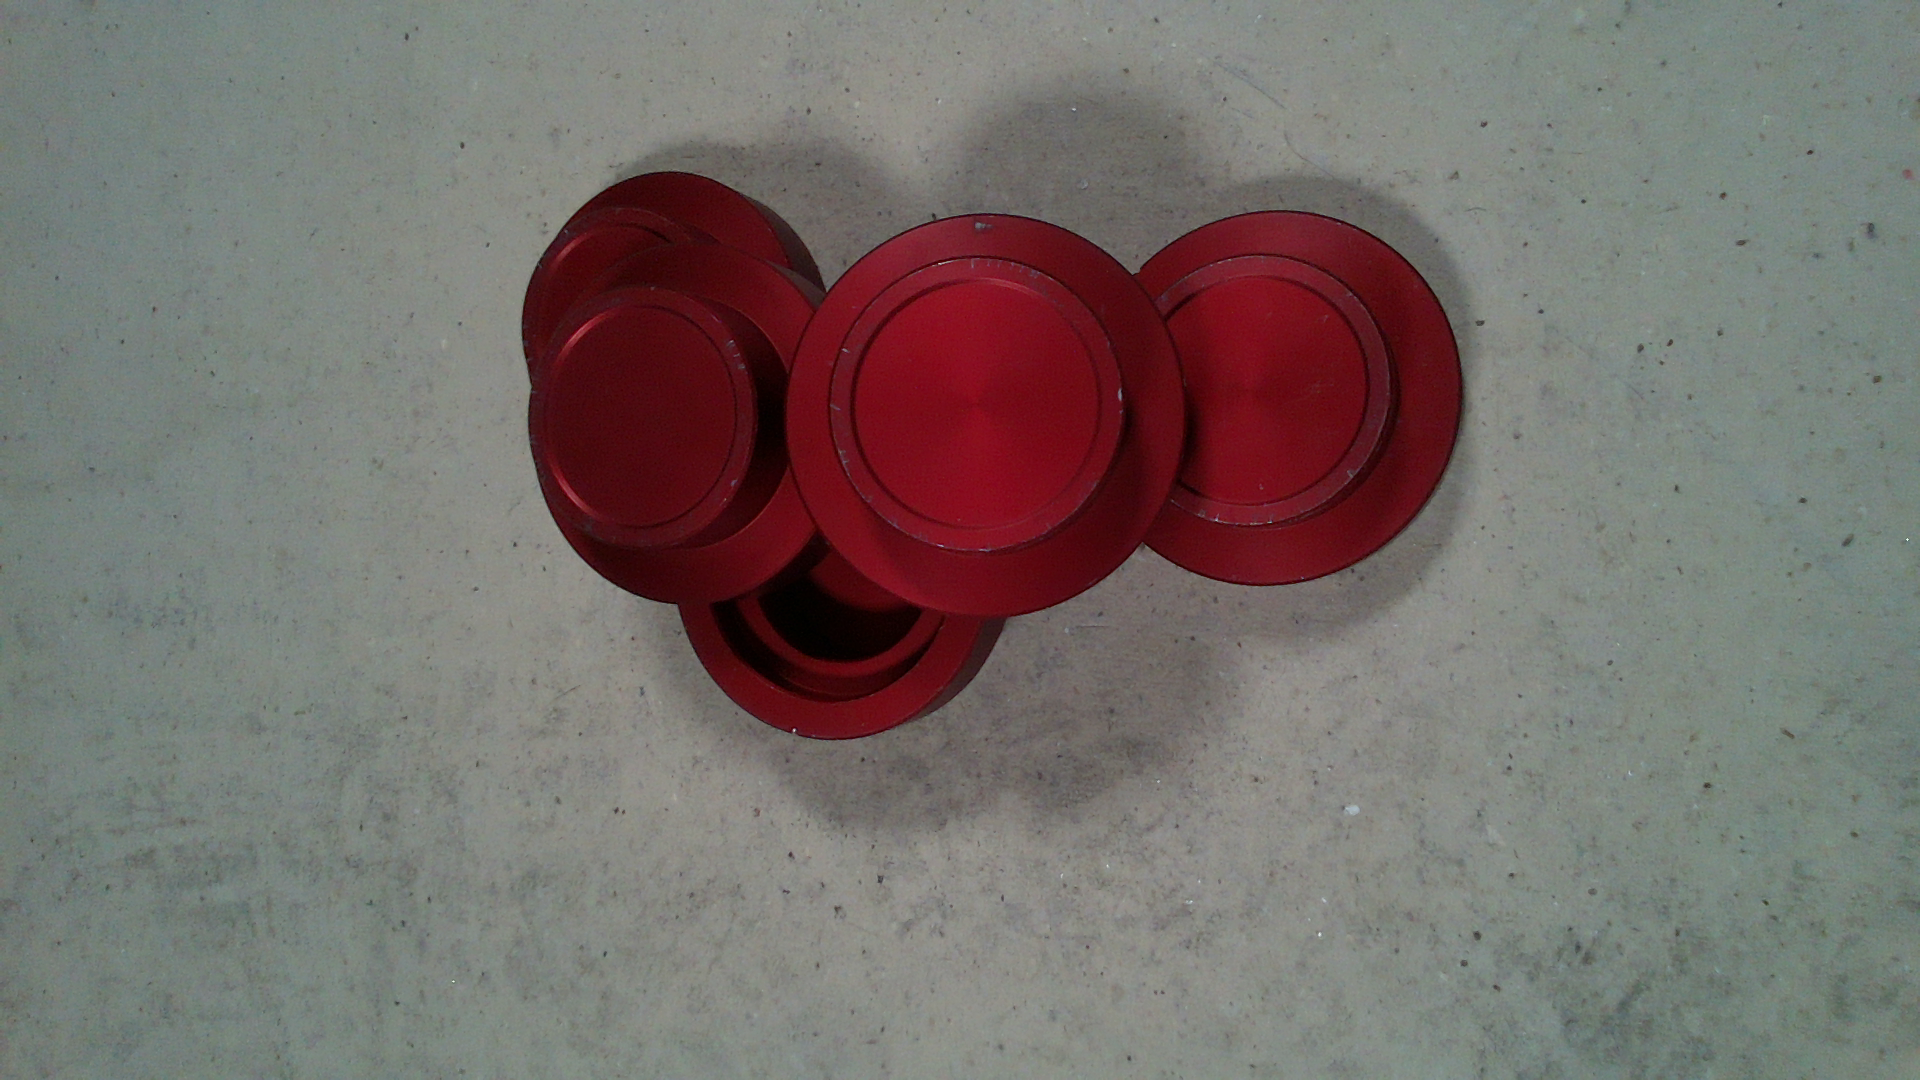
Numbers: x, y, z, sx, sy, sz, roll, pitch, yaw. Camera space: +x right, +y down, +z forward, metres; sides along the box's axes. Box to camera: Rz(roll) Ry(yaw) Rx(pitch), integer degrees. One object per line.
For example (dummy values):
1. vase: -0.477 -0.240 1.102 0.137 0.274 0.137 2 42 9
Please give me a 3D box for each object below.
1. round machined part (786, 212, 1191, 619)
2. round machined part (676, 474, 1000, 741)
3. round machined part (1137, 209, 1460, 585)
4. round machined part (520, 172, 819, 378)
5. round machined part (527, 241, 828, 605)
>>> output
1. round machined part: 0.006 -0.030 0.329 0.098 0.042 0.098 0 89 7
2. round machined part: -0.031 0.006 0.398 0.098 0.042 0.098 0 90 20
3. round machined part: 0.078 -0.037 0.358 0.098 0.042 0.098 0 90 20
4. round machined part: -0.093 -0.063 0.420 0.098 0.042 0.098 0 90 20
5. round machined part: -0.075 -0.031 0.369 0.098 0.042 0.098 0 90 20
